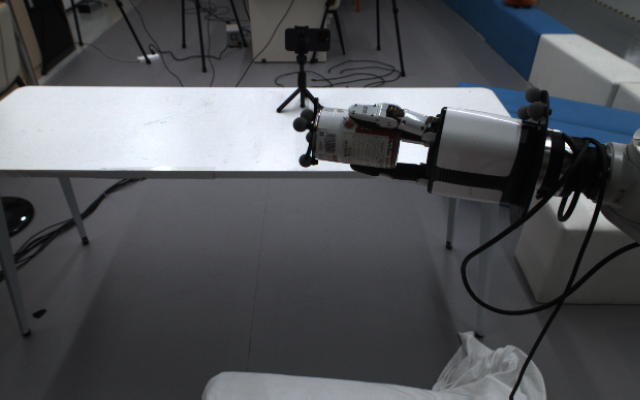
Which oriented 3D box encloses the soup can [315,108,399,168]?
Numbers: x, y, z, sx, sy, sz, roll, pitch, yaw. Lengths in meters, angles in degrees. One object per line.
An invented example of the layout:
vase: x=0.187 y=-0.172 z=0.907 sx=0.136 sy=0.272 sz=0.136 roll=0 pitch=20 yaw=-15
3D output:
soup can: x=0.049 y=-0.077 z=0.601 sx=0.101 sy=0.067 sz=0.067 roll=8 pitch=35 yaw=9
